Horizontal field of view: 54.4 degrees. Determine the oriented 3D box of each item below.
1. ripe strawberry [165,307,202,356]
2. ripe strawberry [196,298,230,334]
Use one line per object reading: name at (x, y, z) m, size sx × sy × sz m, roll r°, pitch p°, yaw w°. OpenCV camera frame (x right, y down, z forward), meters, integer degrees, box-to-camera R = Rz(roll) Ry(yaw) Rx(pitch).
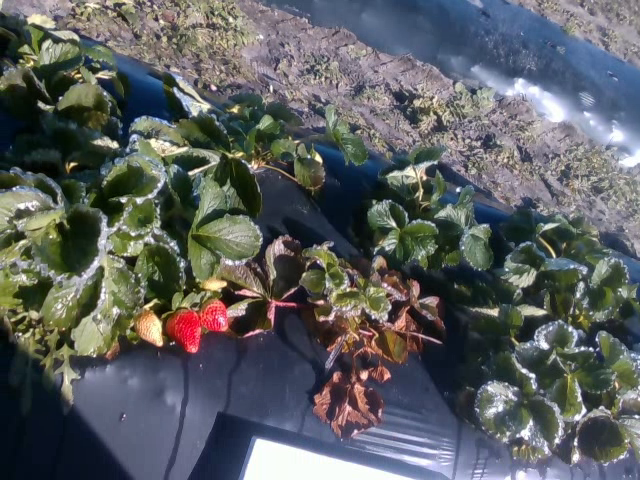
ripe strawberry at (-0.132, 0.100, 0.611) m, size 0.036 × 0.040 × 0.052 m, roll -20°, pitch 51°, yaw -21°
ripe strawberry at (-0.109, 0.084, 0.640) m, size 0.036 × 0.041 × 0.030 m, roll -46°, pitch 2°, yaw -19°
